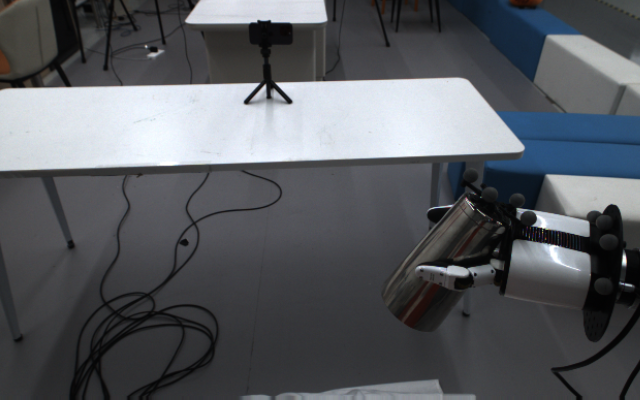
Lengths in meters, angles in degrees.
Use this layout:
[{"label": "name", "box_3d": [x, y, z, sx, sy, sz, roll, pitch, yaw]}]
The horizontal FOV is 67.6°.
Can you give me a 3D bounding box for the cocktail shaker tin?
[{"label": "cocktail shaker tin", "box_3d": [0.161, 0.070, 0.612, 0.093, 0.170, 0.093, 25, 29, -15]}]
